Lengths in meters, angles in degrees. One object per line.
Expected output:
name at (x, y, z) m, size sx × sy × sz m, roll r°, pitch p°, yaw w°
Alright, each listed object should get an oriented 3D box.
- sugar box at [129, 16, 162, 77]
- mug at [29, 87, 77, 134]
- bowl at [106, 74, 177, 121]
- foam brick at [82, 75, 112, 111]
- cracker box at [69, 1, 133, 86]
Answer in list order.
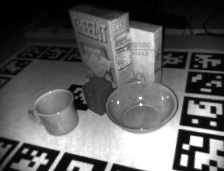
sugar box at (0.083, -0.090, 0.577) m, size 0.091 × 0.178 × 0.045 m, roll 21°, pitch 48°, yaw 36°
mug at (-0.143, 0.059, 0.513) m, size 0.116 × 0.082 × 0.093 m, roll -2°, pitch 30°, yaw 14°
bowl at (0.069, 0.043, 0.495) m, size 0.161 × 0.055 × 0.161 m, roll -6°, pitch 39°, yaw 6°
foam brick at (-0.034, 0.016, 0.559) m, size 0.052 × 0.078 × 0.052 m, roll 16°, pitch 45°, yaw 32°
cracker box at (-0.027, -0.104, 0.593) m, size 0.072 × 0.215 × 0.162 m, roll -33°, pitch 43°, yaw -28°
